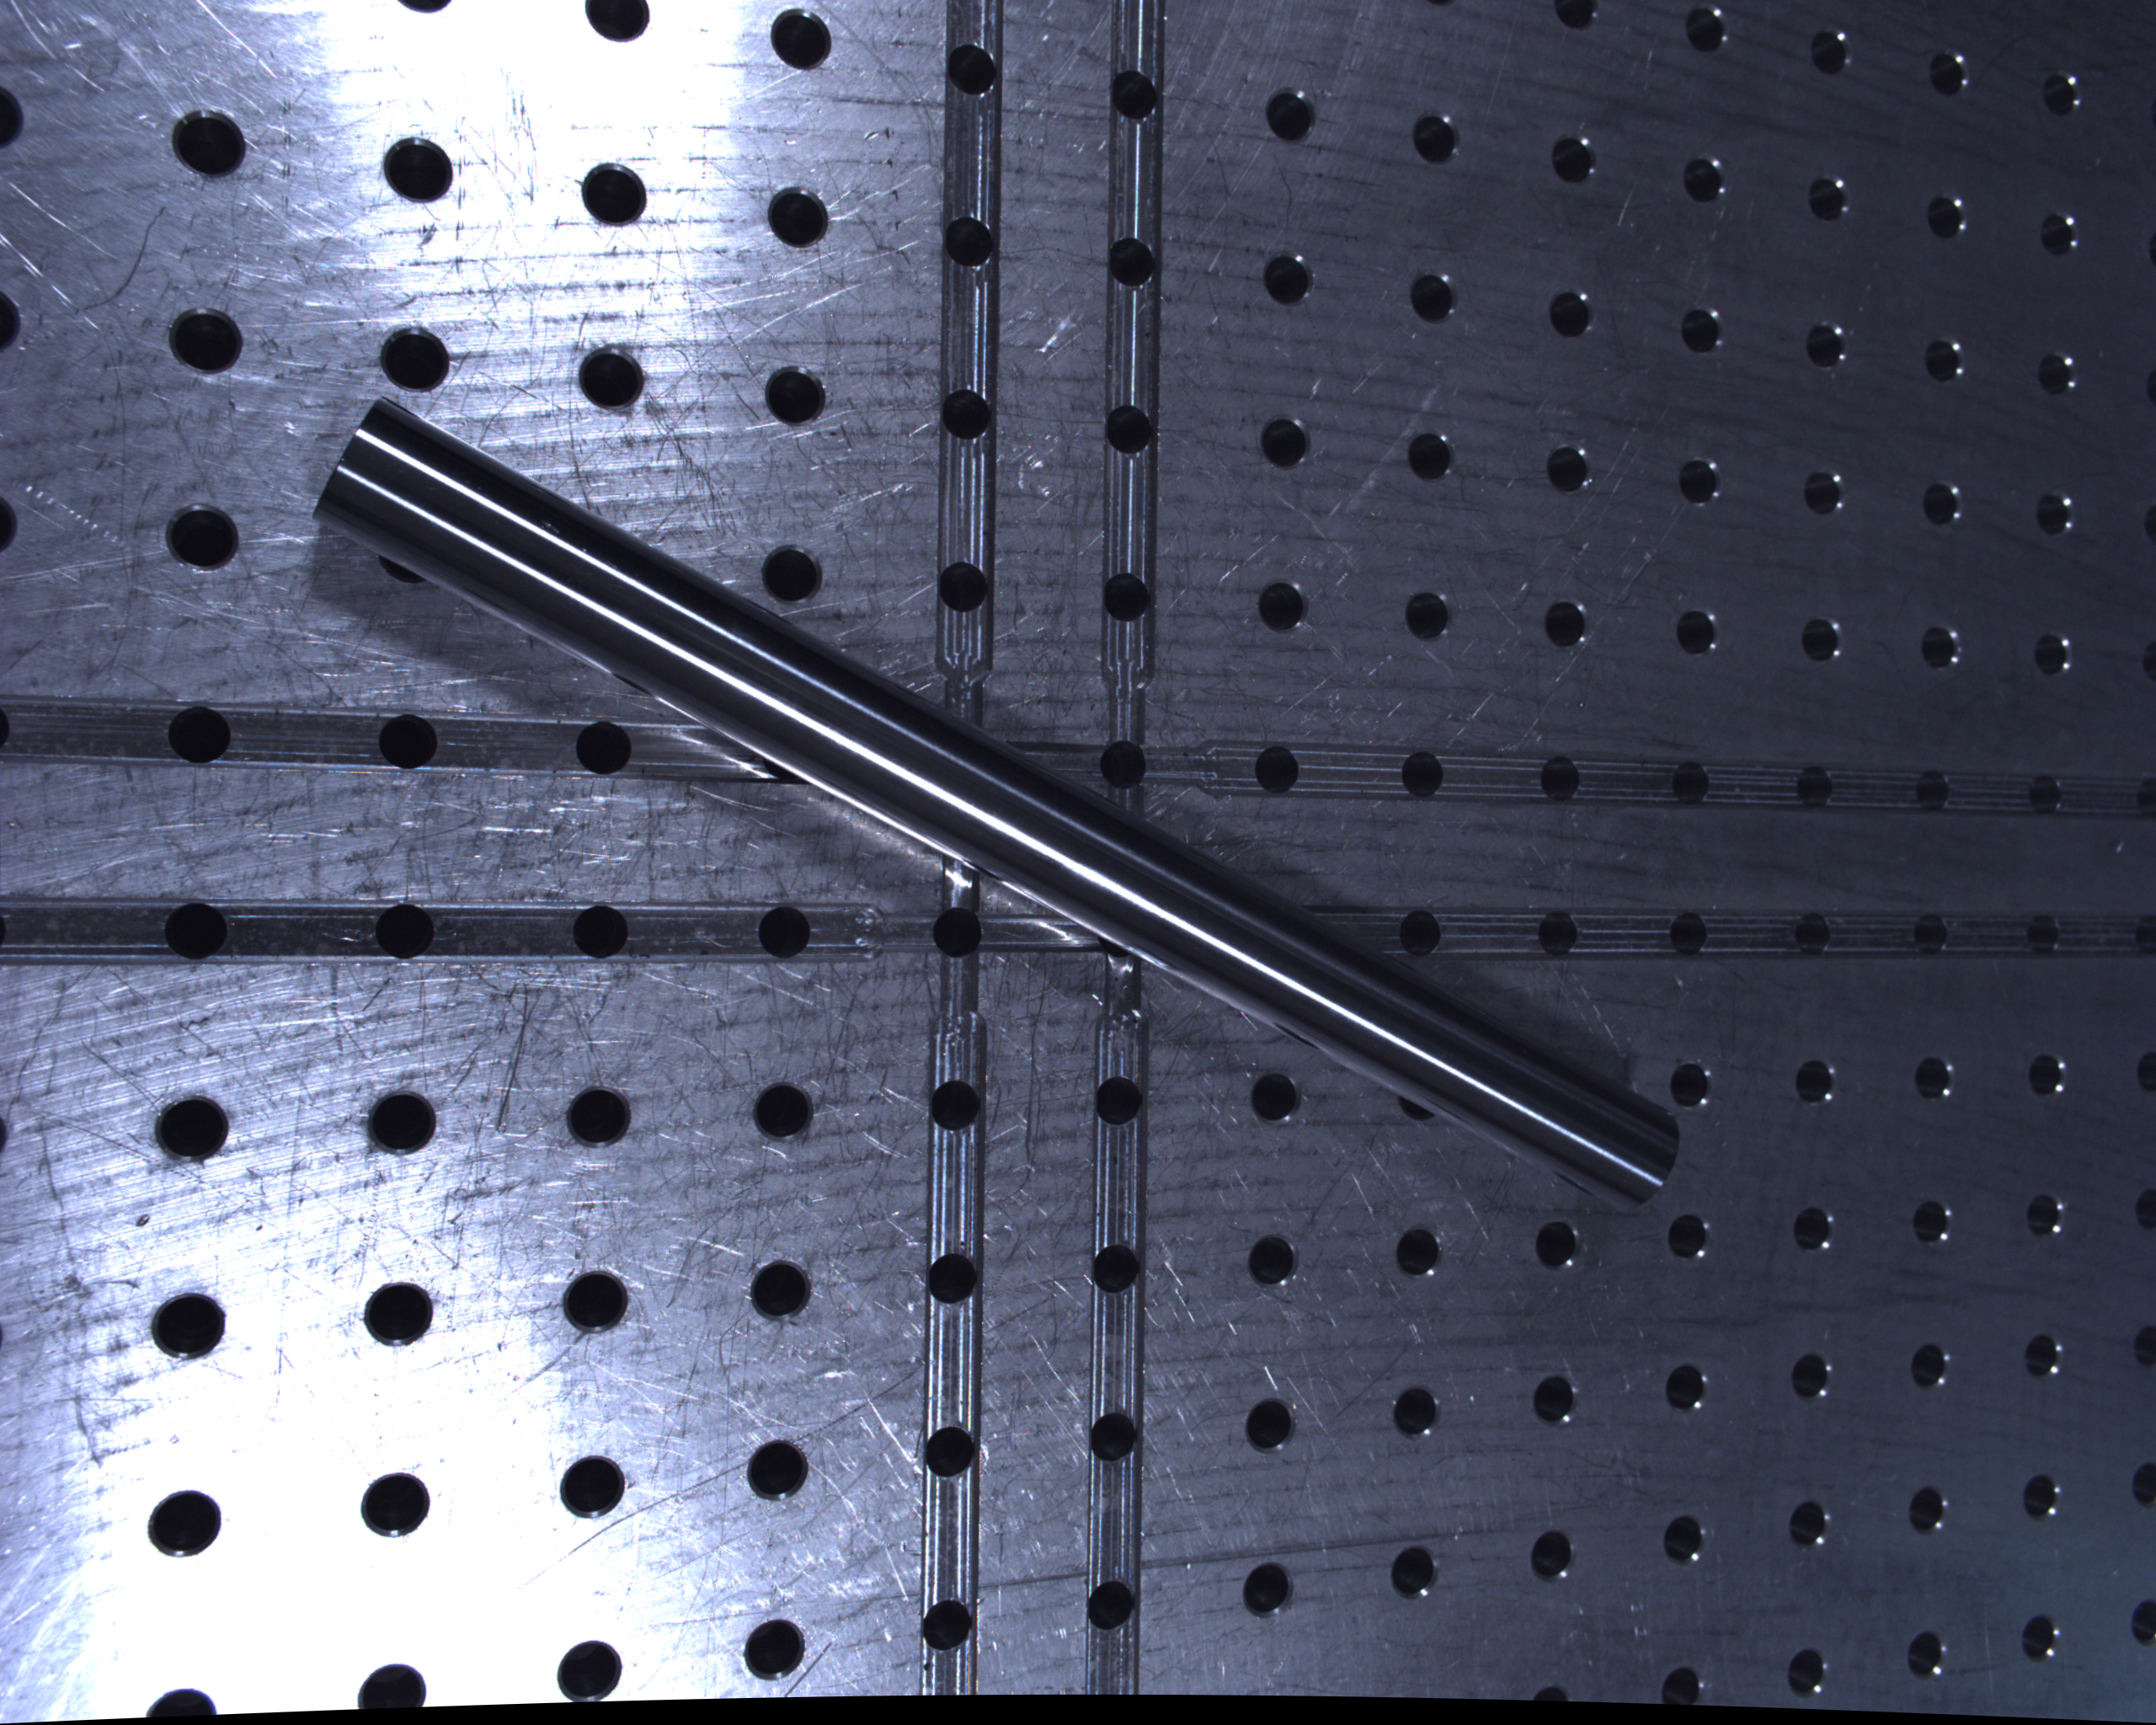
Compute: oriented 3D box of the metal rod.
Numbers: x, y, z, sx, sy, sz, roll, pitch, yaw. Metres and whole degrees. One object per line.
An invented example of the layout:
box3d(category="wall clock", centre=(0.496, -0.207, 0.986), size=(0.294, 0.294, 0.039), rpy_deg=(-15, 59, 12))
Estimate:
box3d(category="metal rod", centre=(-0.002, -0.003, 0.413), size=(0.301, 0.025, 0.025), rpy_deg=(28, 81, -18))
